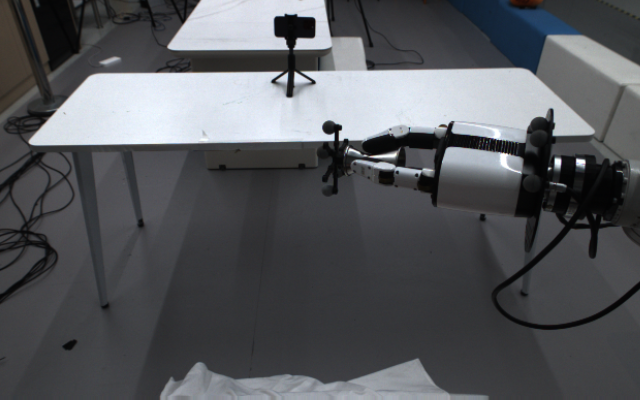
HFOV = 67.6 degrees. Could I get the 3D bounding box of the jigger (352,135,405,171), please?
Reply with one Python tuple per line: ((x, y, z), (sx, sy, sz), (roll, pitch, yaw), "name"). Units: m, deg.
((0.074, -0.049, 0.599), (0.071, 0.043, 0.043), (6, 34, 22), "jigger")
